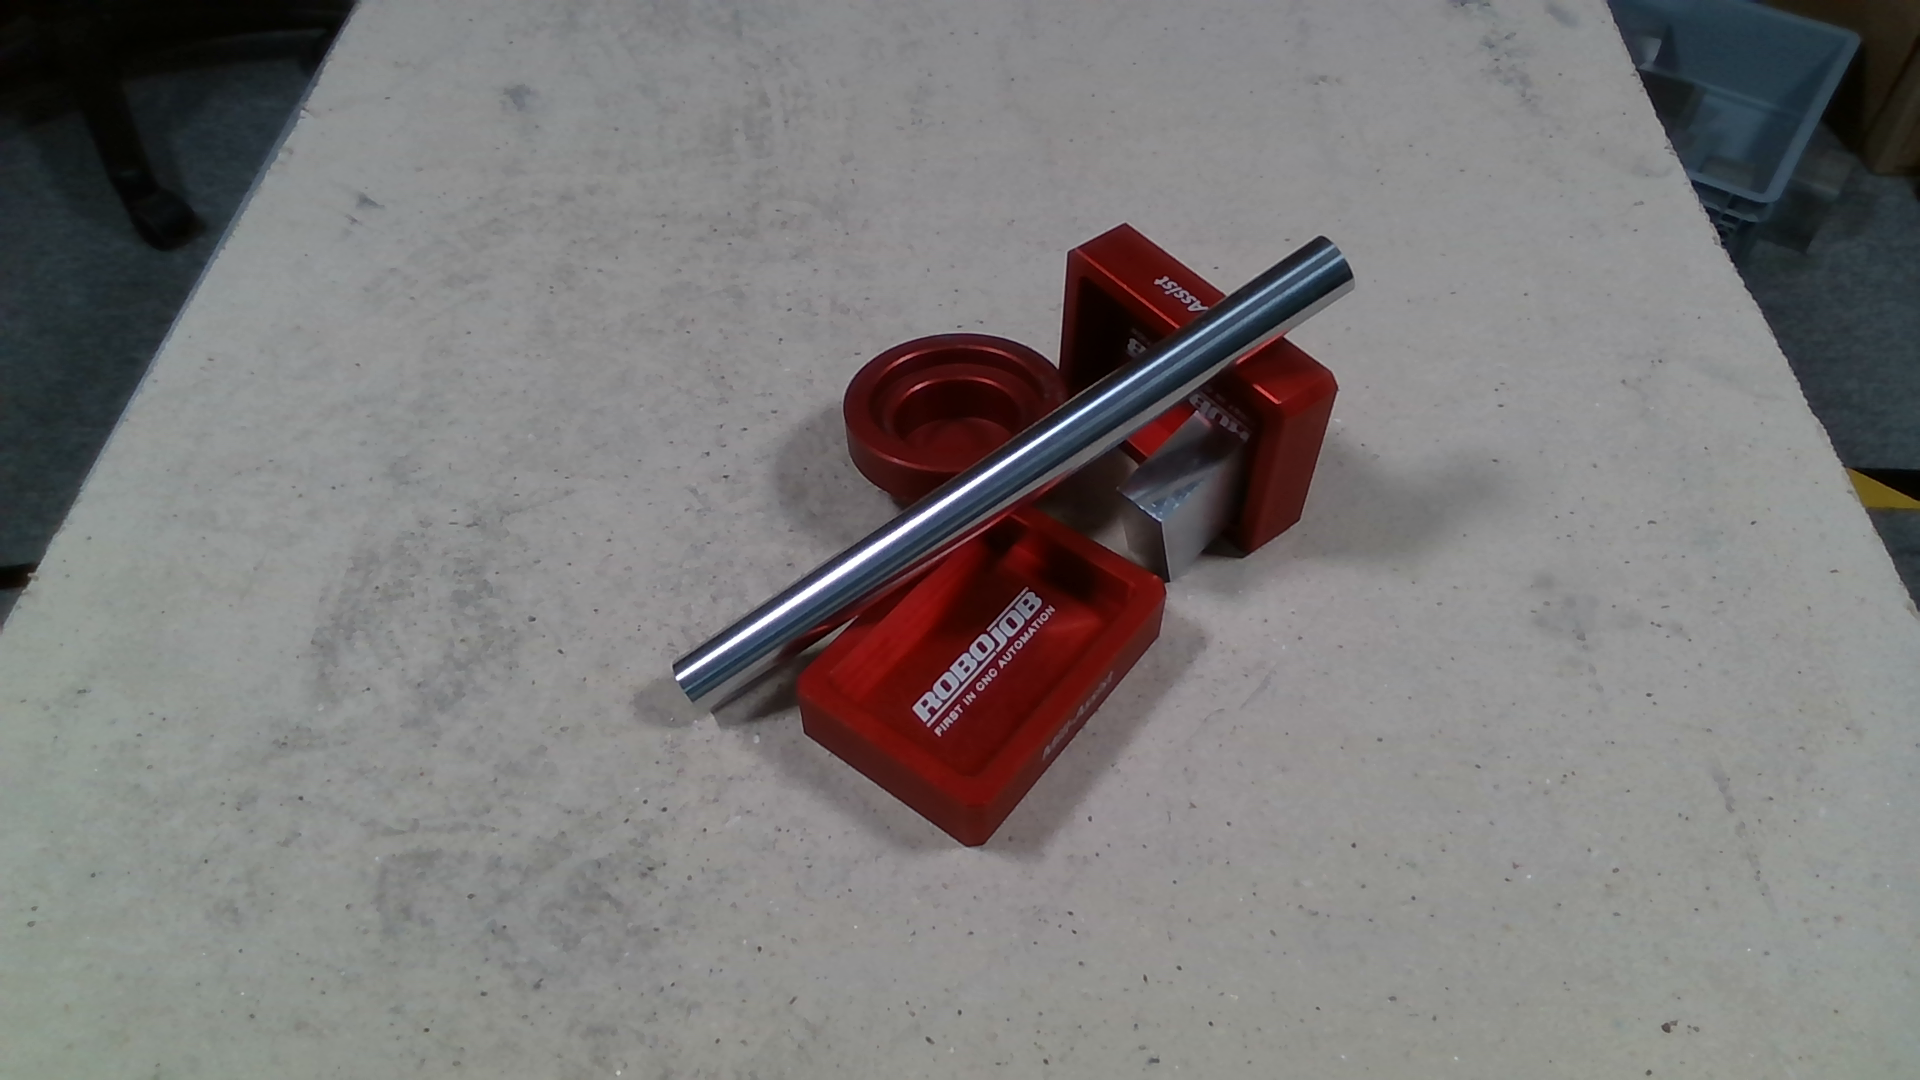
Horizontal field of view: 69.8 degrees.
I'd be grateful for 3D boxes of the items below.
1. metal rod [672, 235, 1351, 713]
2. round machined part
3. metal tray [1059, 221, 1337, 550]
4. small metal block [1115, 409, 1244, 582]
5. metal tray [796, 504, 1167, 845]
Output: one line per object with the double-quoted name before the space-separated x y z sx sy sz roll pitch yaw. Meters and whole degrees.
"metal rod" 0.019 -0.025 0.538 0.300 0.025 0.025 -33 55 1
"round machined part" -0.001 -0.047 0.611 0.098 0.042 0.098 -2 44 2
"metal tray" 0.098 -0.067 0.600 0.030 0.090 0.130 -31 57 -23
"small metal block" 0.094 -0.018 0.580 0.050 0.050 0.025 -43 59 -14
"metal tray" 0.010 0.046 0.546 0.090 0.030 0.130 31 57 23
